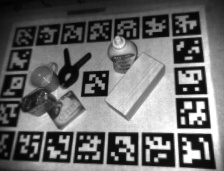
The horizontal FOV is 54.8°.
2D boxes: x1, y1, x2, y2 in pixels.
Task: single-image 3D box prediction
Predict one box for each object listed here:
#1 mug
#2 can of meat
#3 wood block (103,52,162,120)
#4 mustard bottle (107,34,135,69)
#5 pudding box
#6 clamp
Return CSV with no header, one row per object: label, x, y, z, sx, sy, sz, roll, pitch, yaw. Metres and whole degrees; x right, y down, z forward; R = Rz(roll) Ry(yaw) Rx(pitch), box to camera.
mug,-0.251,-0.038,0.826,0.092,0.082,0.117,20,79,18
can of meat,-0.271,0.056,0.768,0.102,0.084,0.057,-32,69,1
wood block,0.072,-0.001,0.723,0.089,0.092,0.206,35,80,22
mustard bottle,0.022,-0.115,0.711,0.096,0.193,0.058,-8,71,11
pudding box,-0.170,0.081,0.769,0.114,0.039,0.089,-40,69,-5
clamp,-0.168,-0.078,0.827,0.121,0.037,0.165,17,78,15
